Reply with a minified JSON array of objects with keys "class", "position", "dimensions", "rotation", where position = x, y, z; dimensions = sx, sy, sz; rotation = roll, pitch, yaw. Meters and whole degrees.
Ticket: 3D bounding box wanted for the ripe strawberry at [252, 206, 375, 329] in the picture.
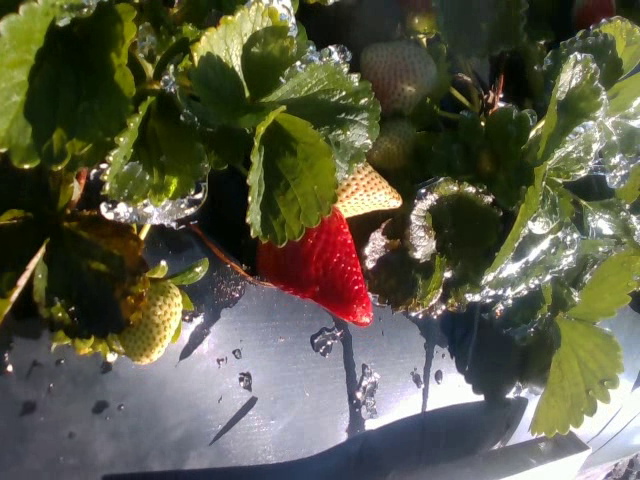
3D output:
[{"class":"ripe strawberry","position":[0.001,0.011,0.214],"dimensions":[0.040,0.053,0.042],"rotation":[-31,-16,-19]}]
